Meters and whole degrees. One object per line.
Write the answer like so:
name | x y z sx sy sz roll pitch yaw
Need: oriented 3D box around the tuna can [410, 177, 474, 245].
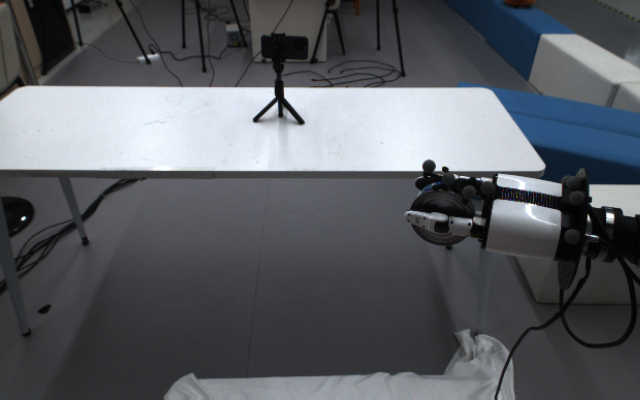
tuna can | 0.172 0.017 0.671 0.085 0.085 0.034 16 28 19
